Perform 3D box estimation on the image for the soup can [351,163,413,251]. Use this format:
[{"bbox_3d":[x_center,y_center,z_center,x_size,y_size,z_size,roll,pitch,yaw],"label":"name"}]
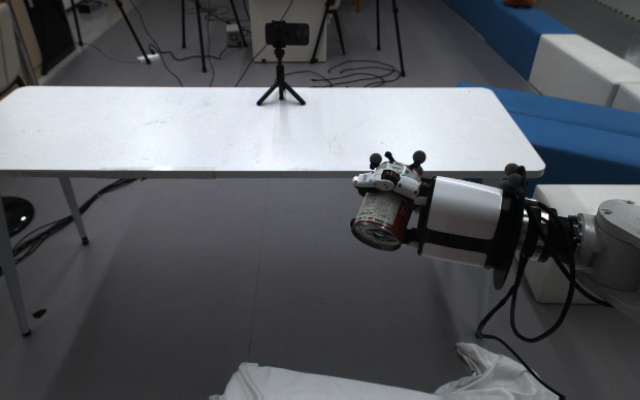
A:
[{"bbox_3d":[0.090,0.005,0.648,0.067,0.067,0.101,15,63,18],"label":"soup can"}]
